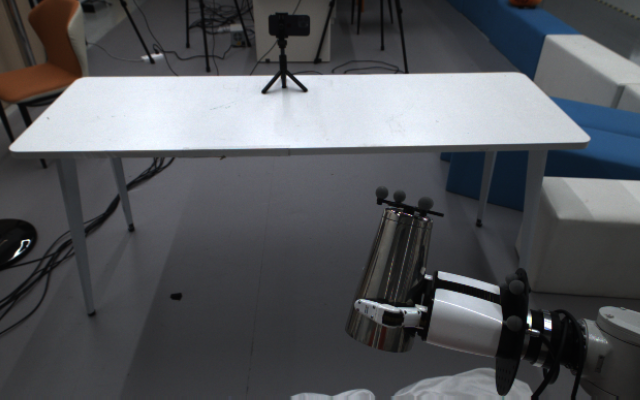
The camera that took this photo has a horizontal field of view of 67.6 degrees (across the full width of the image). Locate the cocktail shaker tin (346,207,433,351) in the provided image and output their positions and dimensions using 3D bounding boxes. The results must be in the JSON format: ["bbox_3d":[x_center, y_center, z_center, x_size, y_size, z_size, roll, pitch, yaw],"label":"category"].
[{"bbox_3d":[0.098,0.101,0.639,0.093,0.170,0.093,13,5,-1],"label":"cocktail shaker tin"}]
